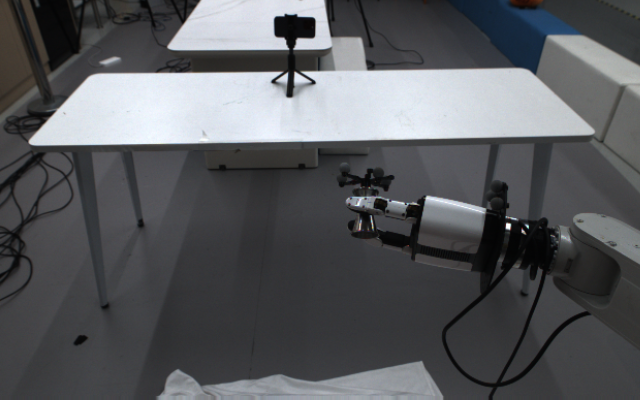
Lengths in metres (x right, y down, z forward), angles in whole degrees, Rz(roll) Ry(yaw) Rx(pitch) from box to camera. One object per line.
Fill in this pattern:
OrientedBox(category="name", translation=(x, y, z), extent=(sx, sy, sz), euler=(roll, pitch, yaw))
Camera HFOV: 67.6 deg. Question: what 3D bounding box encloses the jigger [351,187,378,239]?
OrientedBox(category="jigger", translation=(0.065, 0.017, 0.714), extent=(0.043, 0.043, 0.071), euler=(3, 72, 1))
